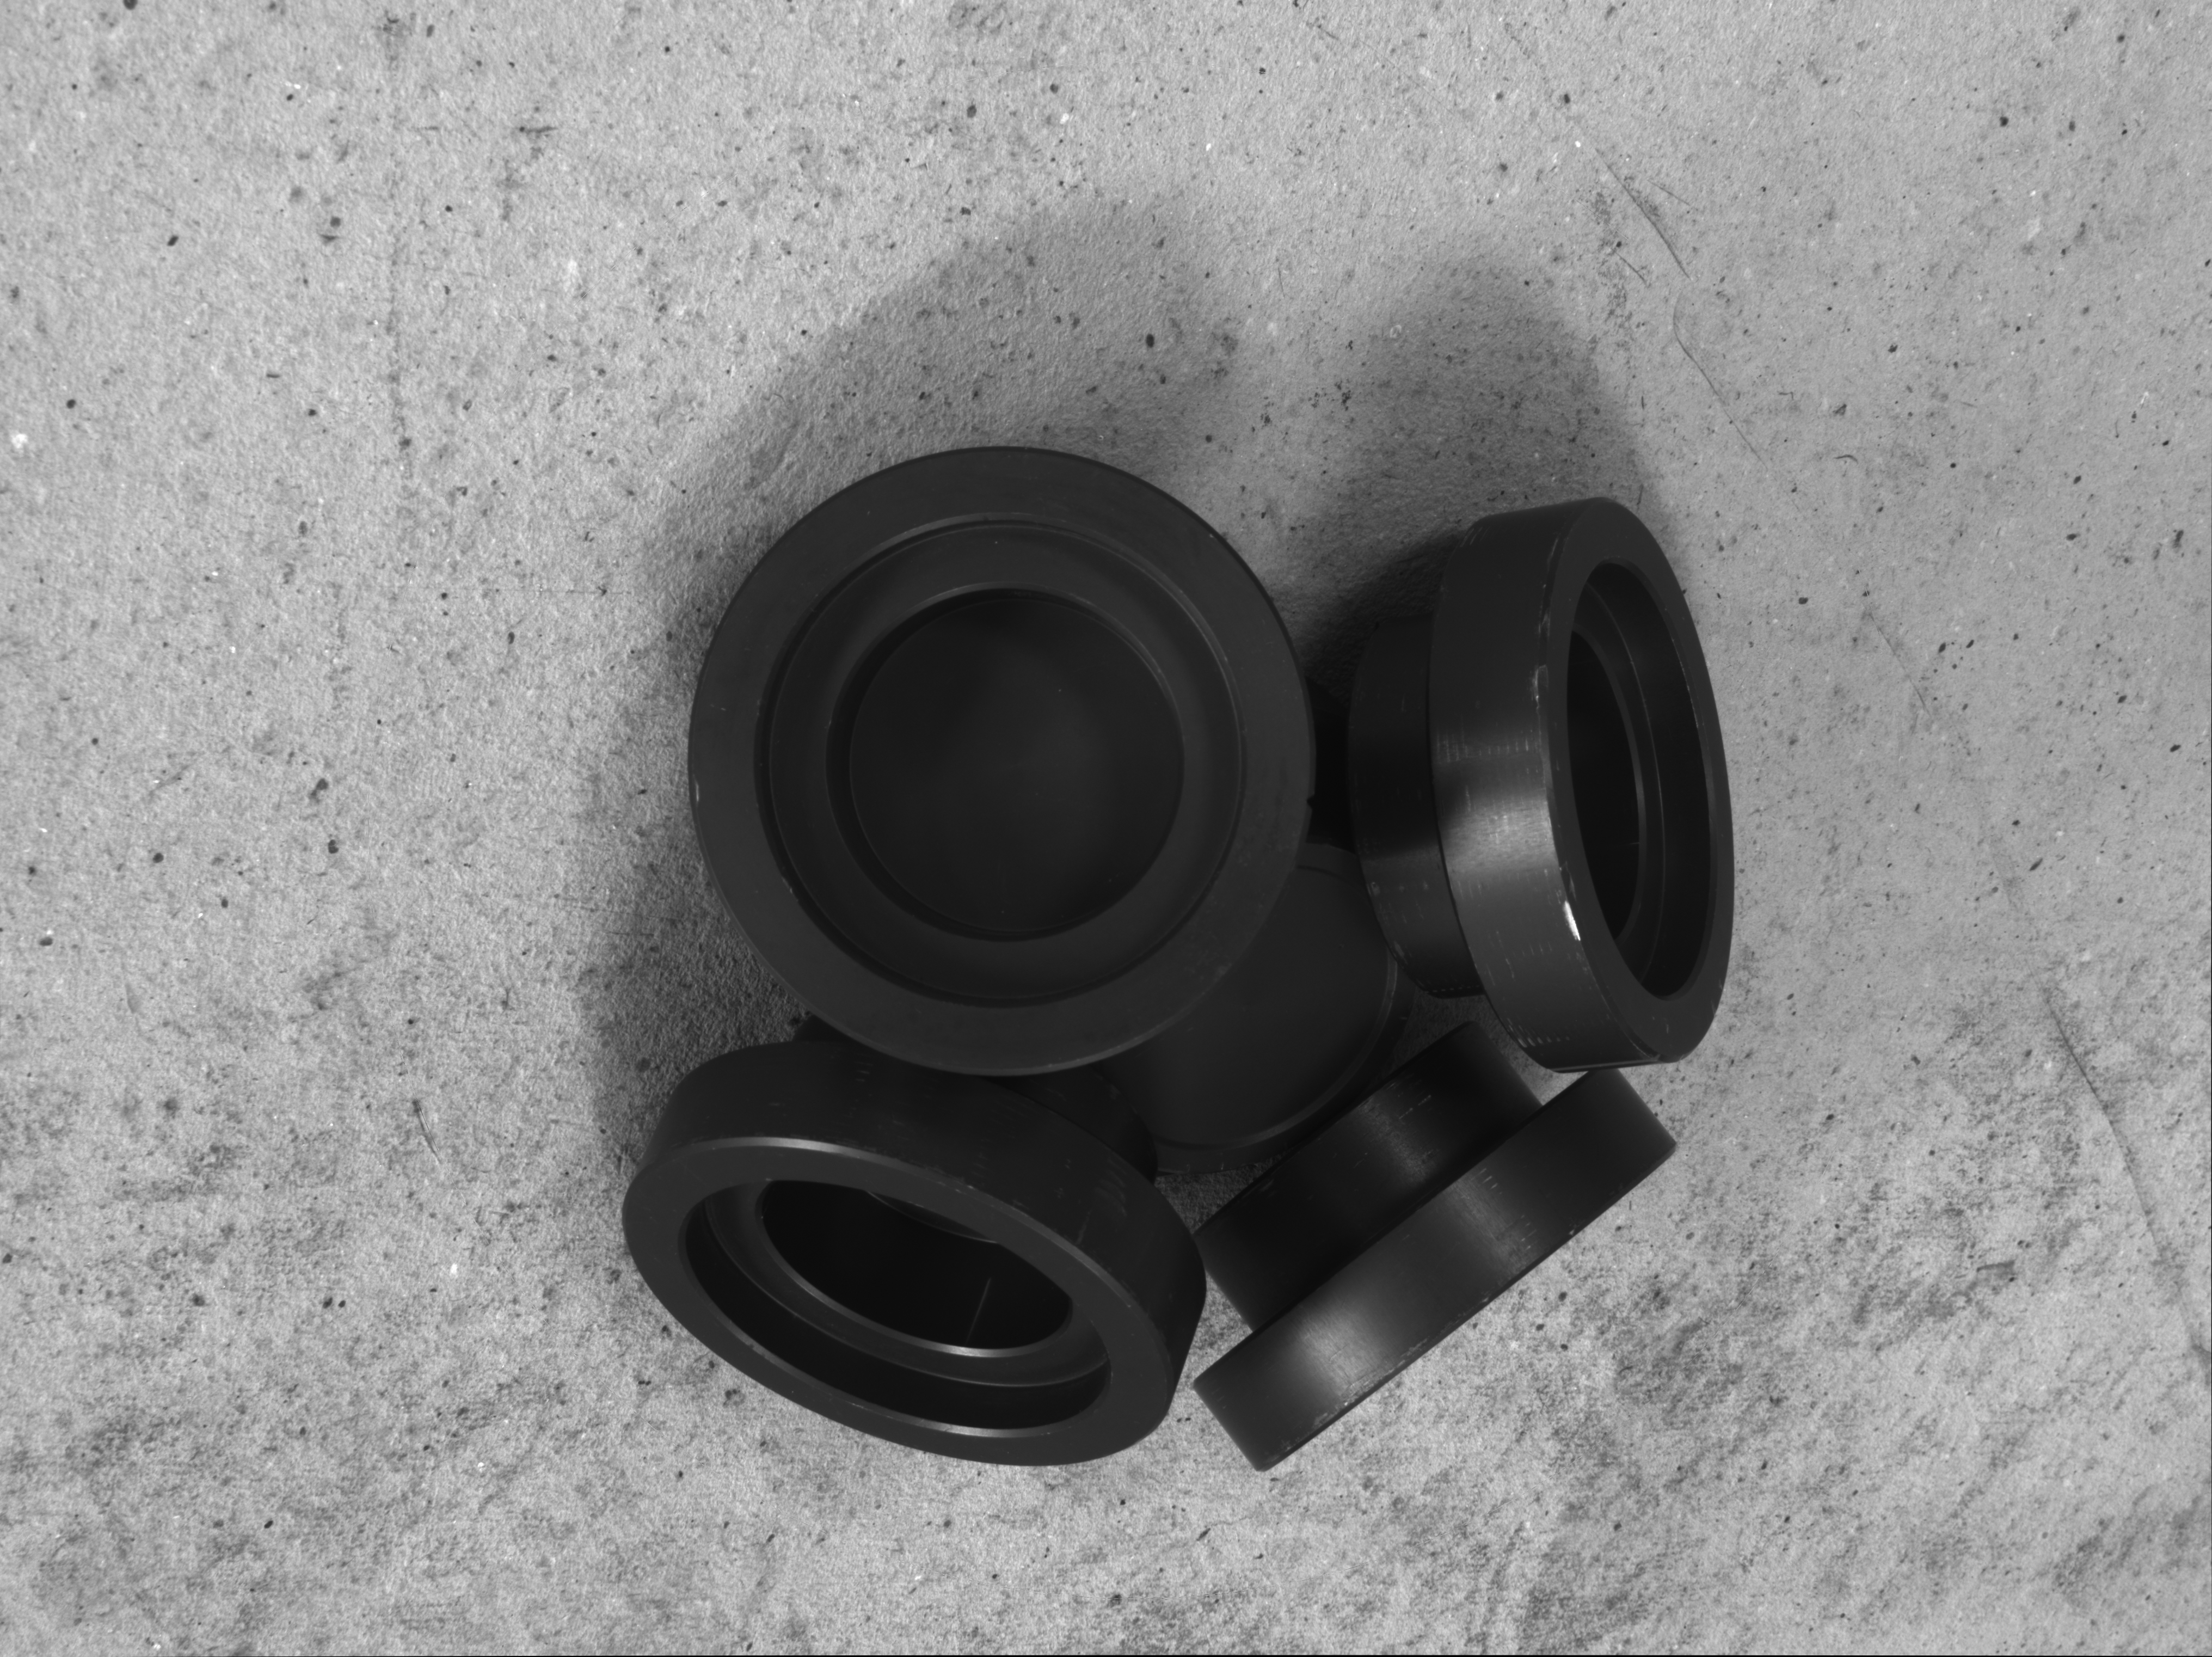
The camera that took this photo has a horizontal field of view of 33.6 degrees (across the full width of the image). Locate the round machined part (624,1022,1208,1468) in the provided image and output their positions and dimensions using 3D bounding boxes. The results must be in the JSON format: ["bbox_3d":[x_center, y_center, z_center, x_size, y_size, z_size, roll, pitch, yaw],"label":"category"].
[{"bbox_3d":[-0.029,0.066,0.628,0.098,0.098,0.042,55,42,-39],"label":"round machined part"}]

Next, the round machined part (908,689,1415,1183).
[{"bbox_3d":[0.016,0.022,0.648,0.098,0.042,0.098,-14,122,-22],"label":"round machined part"}]

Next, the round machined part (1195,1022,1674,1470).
[{"bbox_3d":[0.054,0.073,0.679,0.098,0.042,0.098,-37,172,-6],"label":"round machined part"}]

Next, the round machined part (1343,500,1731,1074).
[{"bbox_3d":[0.074,-0.006,0.640,0.042,0.098,0.098,-8,134,26],"label":"round machined part"}]

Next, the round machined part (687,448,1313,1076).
[{"bbox_3d":[-0.016,-0.010,0.591,0.098,0.042,0.098,0,89,3],"label":"round machined part"}]
